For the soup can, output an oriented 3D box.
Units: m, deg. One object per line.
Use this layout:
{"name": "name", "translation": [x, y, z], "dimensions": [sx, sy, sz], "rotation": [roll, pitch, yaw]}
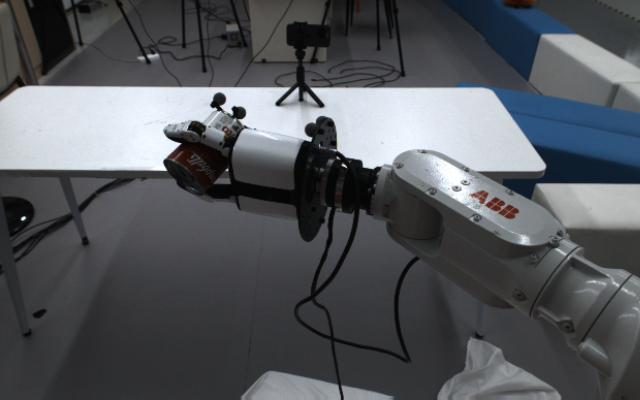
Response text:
{"name": "soup can", "translation": [-0.150, -0.065, 0.651], "dimensions": [0.067, 0.067, 0.101], "rotation": [23, 61, 27]}
